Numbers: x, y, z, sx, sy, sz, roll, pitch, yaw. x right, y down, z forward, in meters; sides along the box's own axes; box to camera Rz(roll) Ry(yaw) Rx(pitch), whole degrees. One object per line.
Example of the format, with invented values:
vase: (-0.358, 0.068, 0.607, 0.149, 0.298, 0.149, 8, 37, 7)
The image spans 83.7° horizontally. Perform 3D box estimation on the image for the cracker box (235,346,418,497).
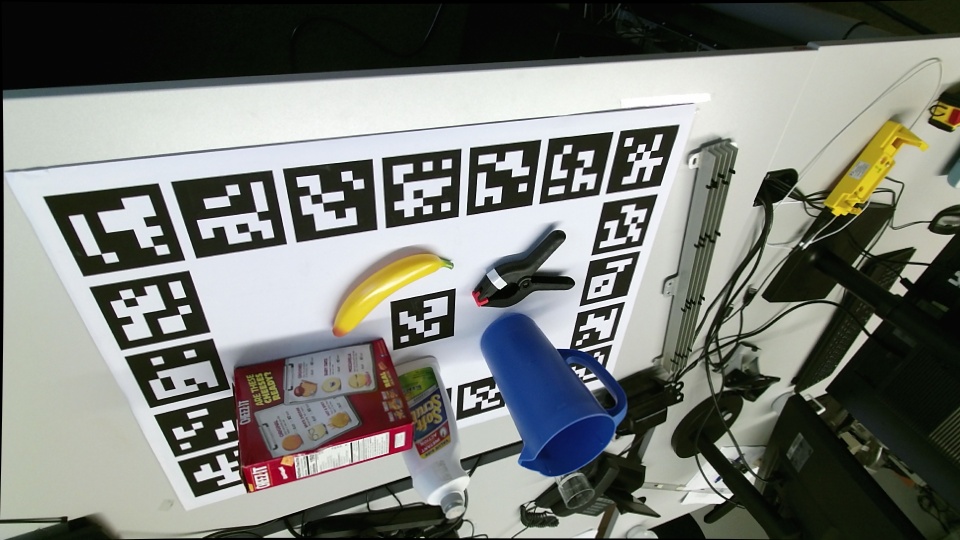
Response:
cracker box: (-0.213, 0.205, 0.744, 0.214, 0.163, 0.072, -11, 132, -22)

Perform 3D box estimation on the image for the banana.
banana: (-0.135, 0.040, 0.770, 0.197, 0.038, 0.074, -36, 134, 3)

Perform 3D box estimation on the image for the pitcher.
pitcher: (0.119, 0.199, 0.848, 0.189, 0.241, 0.133, -24, 134, -5)

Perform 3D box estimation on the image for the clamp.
clamp: (0.071, 0.025, 0.854, 0.165, 0.036, 0.122, -23, 134, -7)

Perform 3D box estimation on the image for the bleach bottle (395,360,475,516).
bleach bottle: (-0.065, 0.253, 0.823, 0.103, 0.250, 0.068, -11, 131, -20)
